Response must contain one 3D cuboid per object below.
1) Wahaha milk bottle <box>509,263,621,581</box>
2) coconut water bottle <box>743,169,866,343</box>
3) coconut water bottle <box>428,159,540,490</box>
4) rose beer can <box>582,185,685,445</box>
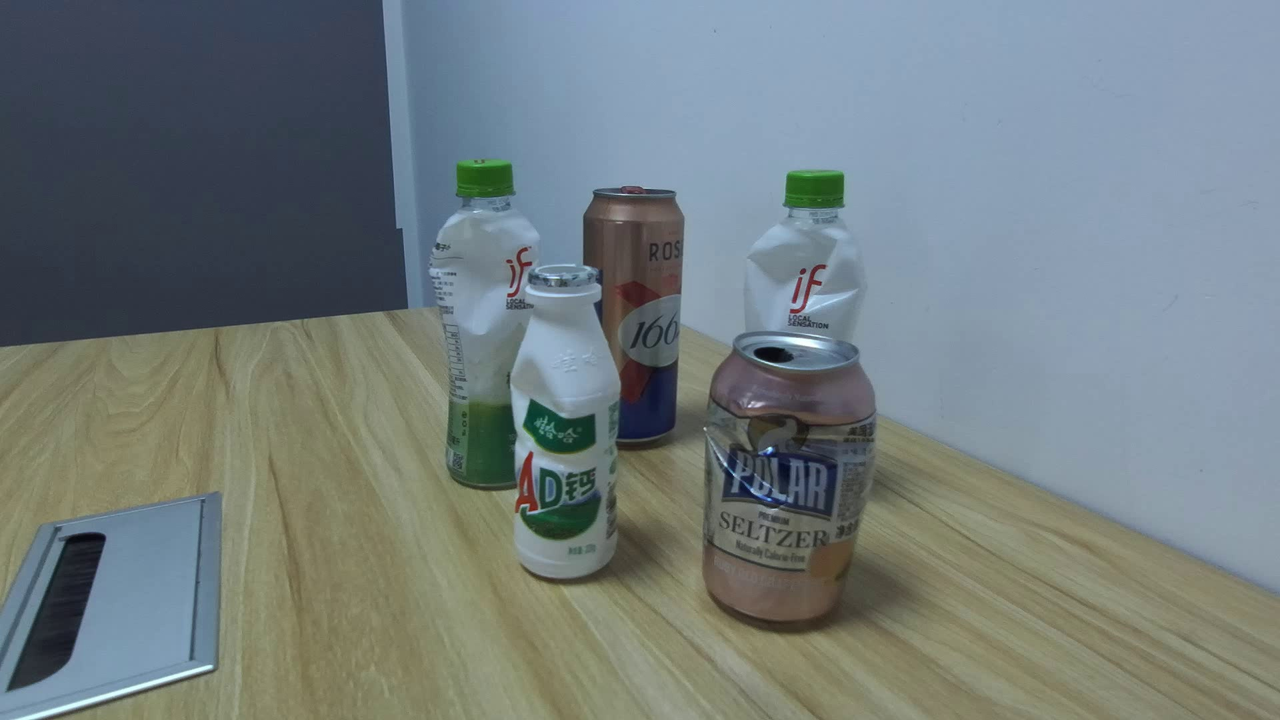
[{"bbox_3d":[-0.036,0.030,0.337,0.056,0.147,0.056,2,19,0],"label":"Wahaha milk bottle"},{"bbox_3d":[0.091,-0.011,0.399,0.067,0.187,0.067,2,16,0],"label":"coconut water bottle"},{"bbox_3d":[-0.087,-0.021,0.420,0.069,0.187,0.069,3,17,-1],"label":"coconut water bottle"},{"bbox_3d":[-0.005,-0.026,0.482,0.068,0.169,0.068,3,12,0],"label":"rose beer can"}]
